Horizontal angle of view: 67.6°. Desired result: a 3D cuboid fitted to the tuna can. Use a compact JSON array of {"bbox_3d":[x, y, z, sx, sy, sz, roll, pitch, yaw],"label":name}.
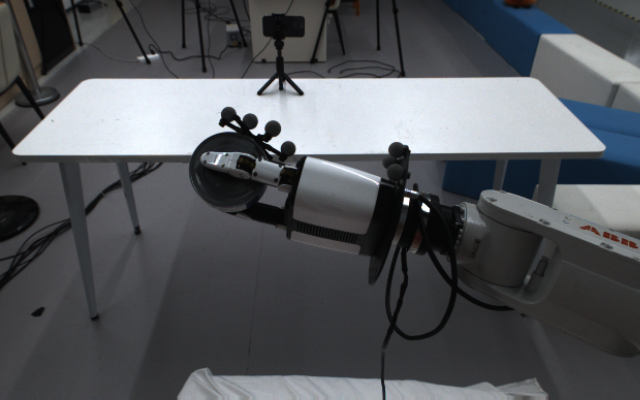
[{"bbox_3d":[-0.099,-0.031,0.542,0.085,0.034,0.085,1,75,-4],"label":"tuna can"}]
